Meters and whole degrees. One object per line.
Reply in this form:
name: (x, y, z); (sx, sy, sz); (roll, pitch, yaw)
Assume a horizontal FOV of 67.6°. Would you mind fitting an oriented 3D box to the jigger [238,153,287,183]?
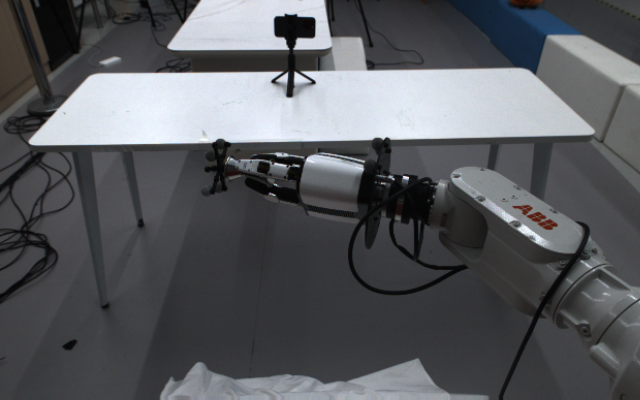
jigger: (-0.099, -0.047, 0.729); (0.071, 0.043, 0.043); (7, 35, 13)
